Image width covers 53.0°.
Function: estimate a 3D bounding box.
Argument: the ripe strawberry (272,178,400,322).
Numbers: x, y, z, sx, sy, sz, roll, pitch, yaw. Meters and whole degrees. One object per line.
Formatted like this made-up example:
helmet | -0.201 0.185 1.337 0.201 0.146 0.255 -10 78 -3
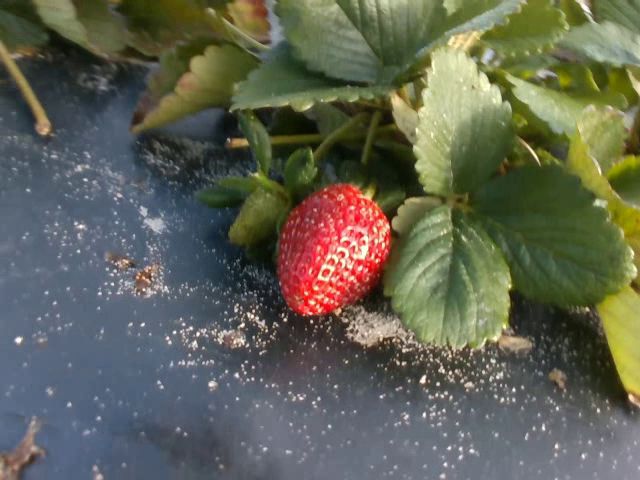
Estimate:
ripe strawberry | 0.000 0.002 0.127 0.030 0.021 0.036 13 41 15
